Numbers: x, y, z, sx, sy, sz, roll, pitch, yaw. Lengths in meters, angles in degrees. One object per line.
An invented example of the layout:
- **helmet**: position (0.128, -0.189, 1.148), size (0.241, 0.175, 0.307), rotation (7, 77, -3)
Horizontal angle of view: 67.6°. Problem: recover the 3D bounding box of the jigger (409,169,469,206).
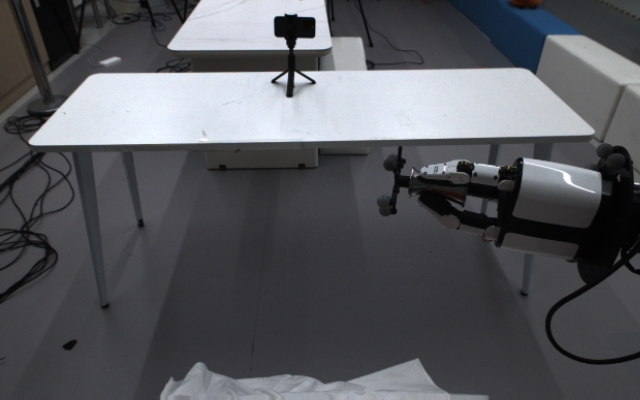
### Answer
- **jigger**: position (0.152, -0.021, 0.600), size (0.071, 0.043, 0.043), rotation (8, 35, 12)
